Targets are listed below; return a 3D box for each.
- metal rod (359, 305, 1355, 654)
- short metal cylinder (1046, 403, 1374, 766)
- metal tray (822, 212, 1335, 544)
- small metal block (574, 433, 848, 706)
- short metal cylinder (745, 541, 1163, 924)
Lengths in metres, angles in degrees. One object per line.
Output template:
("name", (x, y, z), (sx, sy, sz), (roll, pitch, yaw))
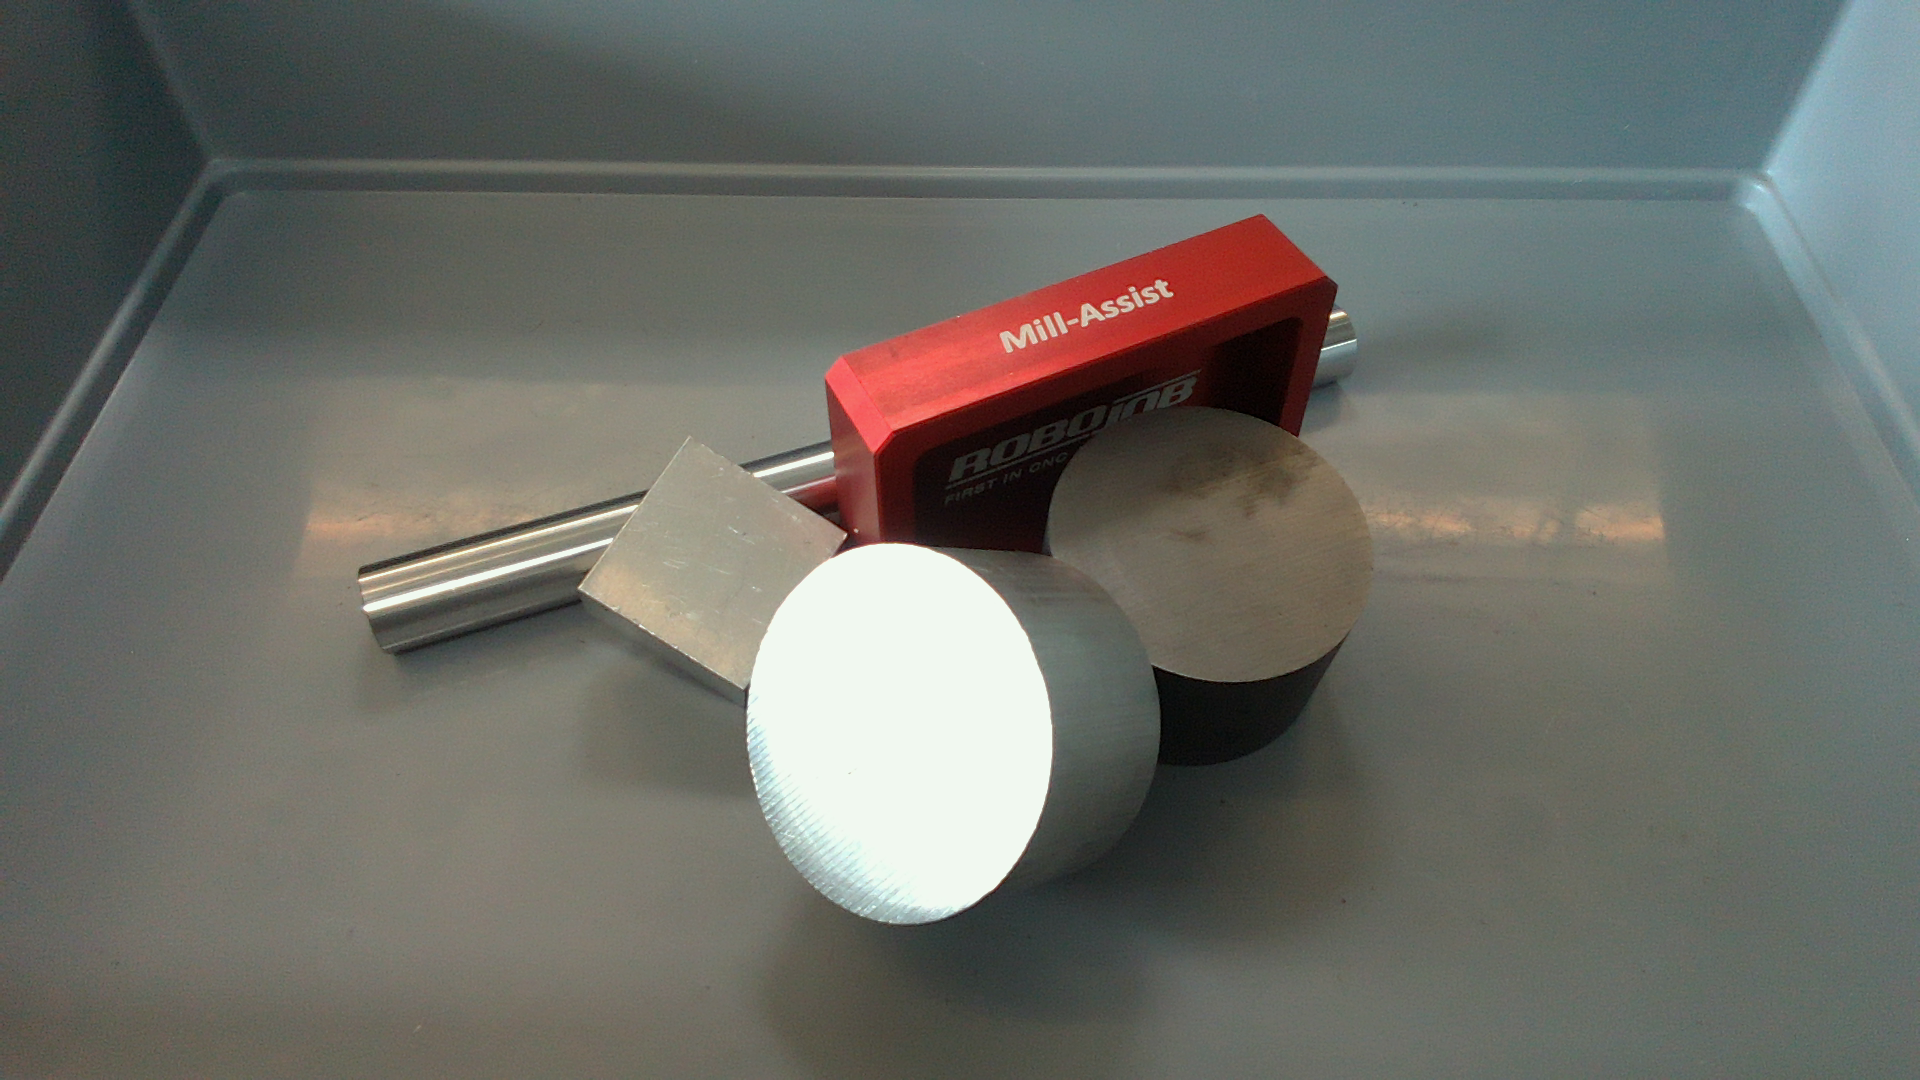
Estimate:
("metal rod", (-0.019, -0.023, 0.409), (0.301, 0.025, 0.025), (-17, 52, -14))
("short metal cylinder", (0.060, 0.012, 0.357), (0.080, 0.050, 0.080), (2, 58, -3))
("metal tray", (0.032, -0.027, 0.370), (0.130, 0.090, 0.030), (-21, 53, -17))
("small metal block", (-0.065, 0.008, 0.366), (0.050, 0.025, 0.050), (32, 71, 1))
("short metal cylinder", (-0.002, 0.041, 0.310), (0.080, 0.080, 0.050), (40, 19, 28))
